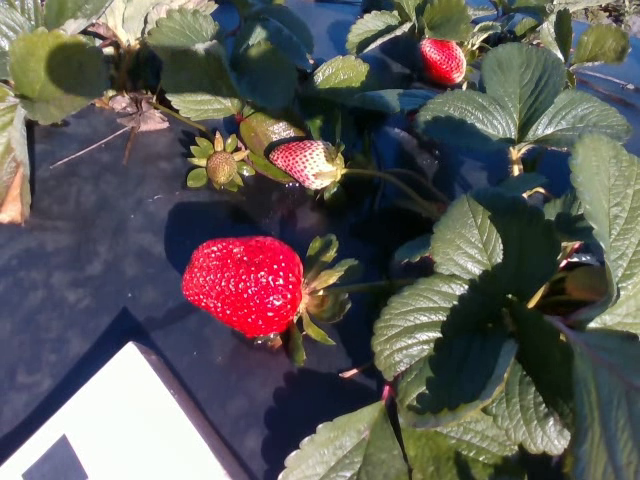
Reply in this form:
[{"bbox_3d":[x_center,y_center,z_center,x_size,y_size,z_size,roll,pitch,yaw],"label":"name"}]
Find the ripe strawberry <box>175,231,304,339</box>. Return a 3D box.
[{"bbox_3d":[-0.035,0.019,0.268,0.061,0.066,0.058,20,-29,-40],"label":"ripe strawberry"}]
